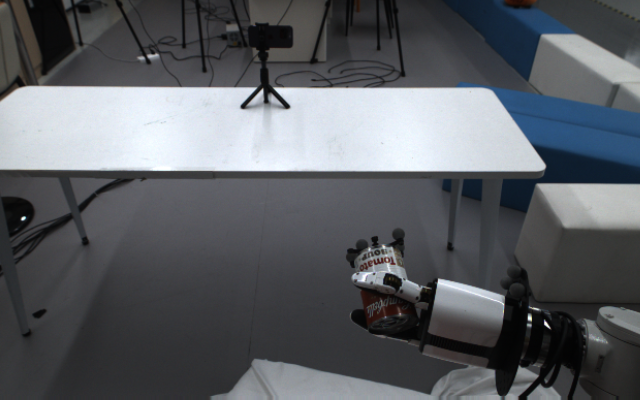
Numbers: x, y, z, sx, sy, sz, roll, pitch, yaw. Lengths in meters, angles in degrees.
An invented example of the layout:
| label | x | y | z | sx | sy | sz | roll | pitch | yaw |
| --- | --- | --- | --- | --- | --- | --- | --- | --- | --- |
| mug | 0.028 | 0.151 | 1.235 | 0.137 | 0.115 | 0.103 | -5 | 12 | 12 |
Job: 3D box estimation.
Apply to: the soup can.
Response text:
| label | x | y | z | sx | sy | sz | roll | pitch | yaw |
| --- | --- | --- | --- | --- | --- | --- | --- | --- | --- |
| soup can | 0.089 | 0.119 | 0.647 | 0.067 | 0.067 | 0.101 | -5 | 57 | -10 |
